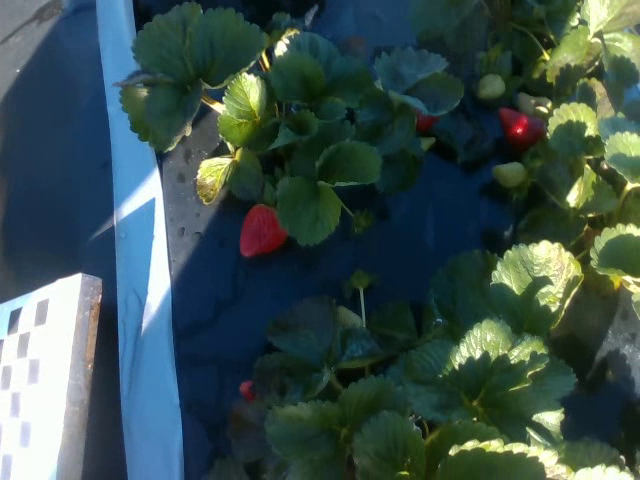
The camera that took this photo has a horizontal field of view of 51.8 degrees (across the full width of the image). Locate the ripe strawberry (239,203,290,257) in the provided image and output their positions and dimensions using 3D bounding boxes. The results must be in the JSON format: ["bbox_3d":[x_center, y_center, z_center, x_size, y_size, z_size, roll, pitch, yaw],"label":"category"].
[{"bbox_3d":[-0.051,-0.006,0.550,0.045,0.059,0.042,17,-23,44],"label":"ripe strawberry"}]
